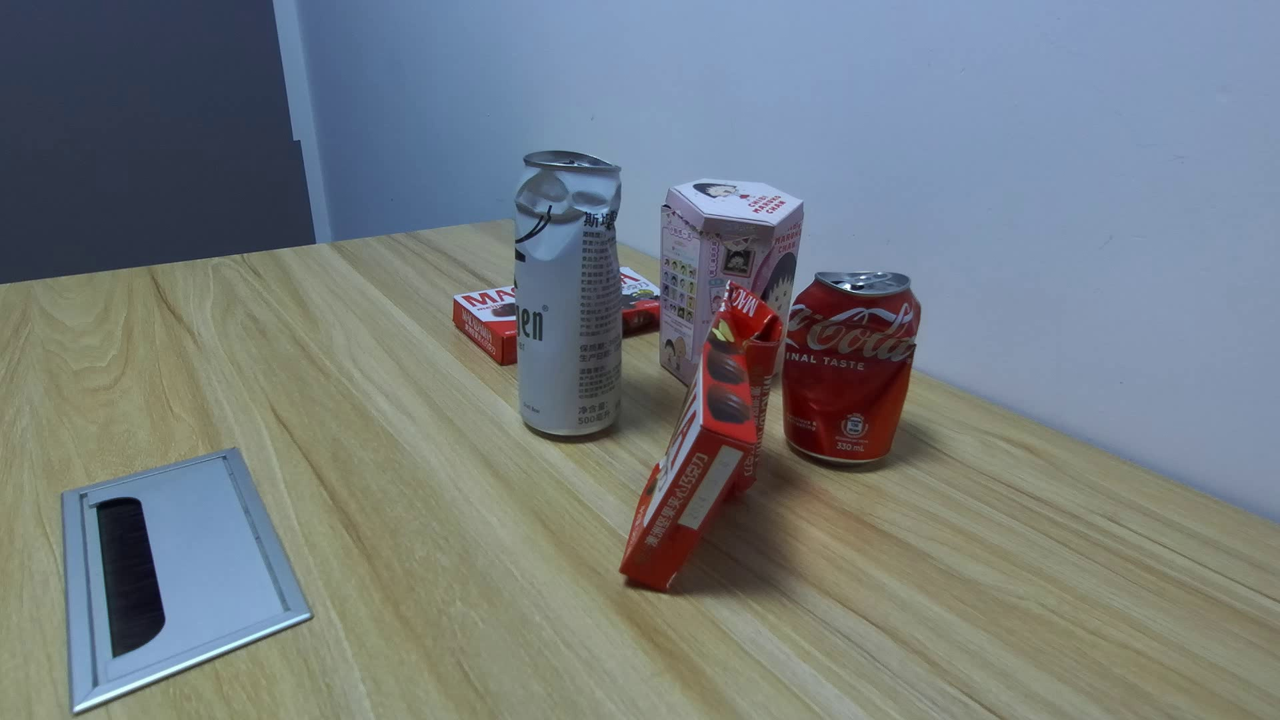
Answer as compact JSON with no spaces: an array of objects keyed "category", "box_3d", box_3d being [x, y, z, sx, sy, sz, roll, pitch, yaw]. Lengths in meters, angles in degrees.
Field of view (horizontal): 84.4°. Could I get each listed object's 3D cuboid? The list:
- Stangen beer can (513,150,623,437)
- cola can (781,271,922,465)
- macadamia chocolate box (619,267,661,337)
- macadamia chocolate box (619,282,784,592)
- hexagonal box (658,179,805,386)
[{"category":"Stangen beer can","box_3d":[-0.040,-0.036,0.427,0.066,0.166,0.066,13,26,19]},{"category":"cola can","box_3d":[0.126,0.003,0.419,0.069,0.112,0.066,16,28,26]},{"category":"macadamia chocolate box","box_3d":[-0.056,-0.044,0.619,0.187,0.027,0.102,-16,34,-33]},{"category":"macadamia chocolate box","box_3d":[0.033,0.034,0.350,0.056,0.112,0.126,10,26,13]},{"category":"hexagonal box","box_3d":[0.061,-0.054,0.505,0.084,0.135,0.092,19,31,29]}]
